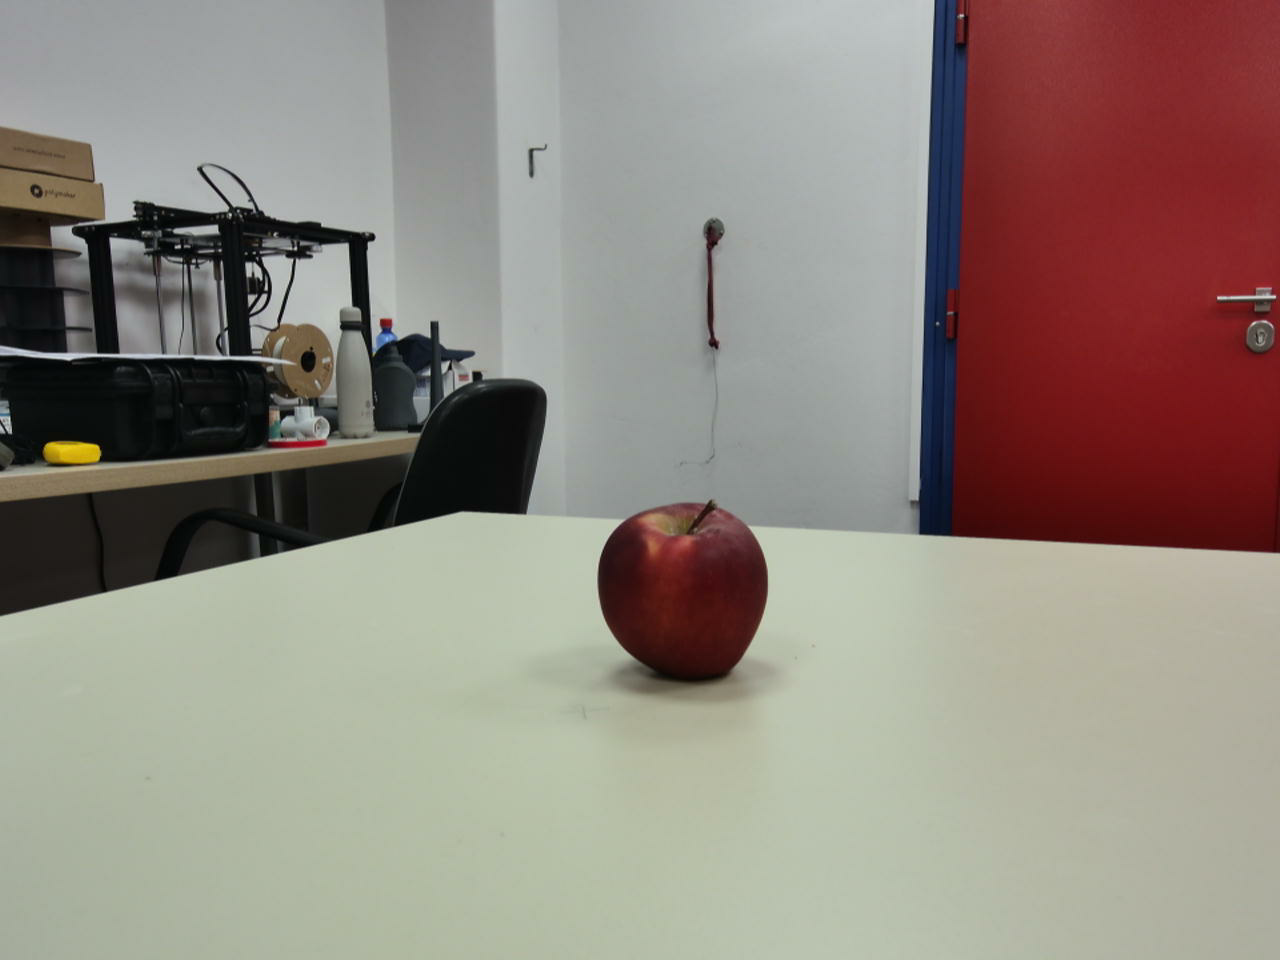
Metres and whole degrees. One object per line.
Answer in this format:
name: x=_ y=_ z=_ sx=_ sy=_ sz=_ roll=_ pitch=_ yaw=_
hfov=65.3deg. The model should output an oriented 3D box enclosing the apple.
apple: x=0.018 y=0.044 z=0.409 sx=0.070 sy=0.072 sz=0.070 roll=-1 pitch=3 yaw=0
